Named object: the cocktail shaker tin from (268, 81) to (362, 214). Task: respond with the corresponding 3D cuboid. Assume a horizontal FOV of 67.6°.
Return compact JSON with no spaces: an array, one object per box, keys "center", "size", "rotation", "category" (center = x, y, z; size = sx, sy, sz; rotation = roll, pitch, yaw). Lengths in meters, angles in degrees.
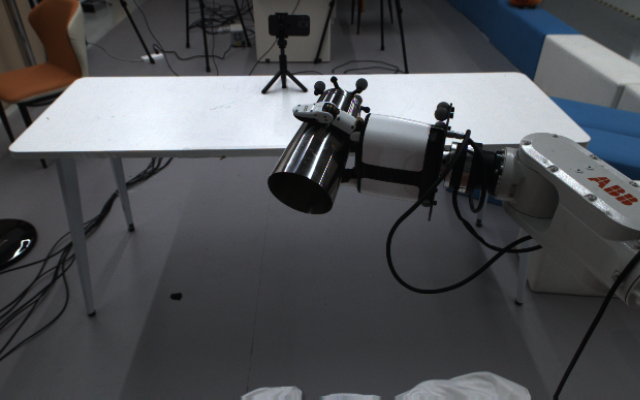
[{"center":[0.001,-0.077,0.675],"size":[0.093,0.093,0.170],"rotation":[13,57,16],"category":"cocktail shaker tin"}]
